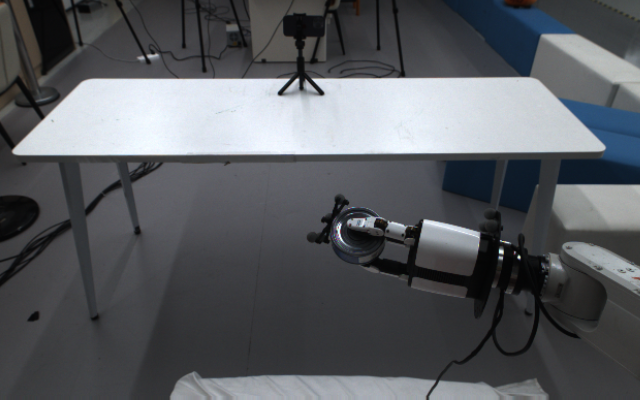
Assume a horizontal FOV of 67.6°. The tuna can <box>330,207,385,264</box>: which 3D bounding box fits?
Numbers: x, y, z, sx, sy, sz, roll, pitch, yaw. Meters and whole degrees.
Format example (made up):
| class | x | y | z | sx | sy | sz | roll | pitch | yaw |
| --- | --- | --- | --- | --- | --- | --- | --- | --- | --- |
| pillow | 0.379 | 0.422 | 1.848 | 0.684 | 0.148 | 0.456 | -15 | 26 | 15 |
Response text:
| class | x | y | z | sx | sy | sz | roll | pitch | yaw |
| --- | --- | --- | --- | --- | --- | --- | --- | --- | --- |
| tuna can | 0.061 | 0.054 | 0.747 | 0.085 | 0.034 | 0.085 | 0 | 62 | 1 |
